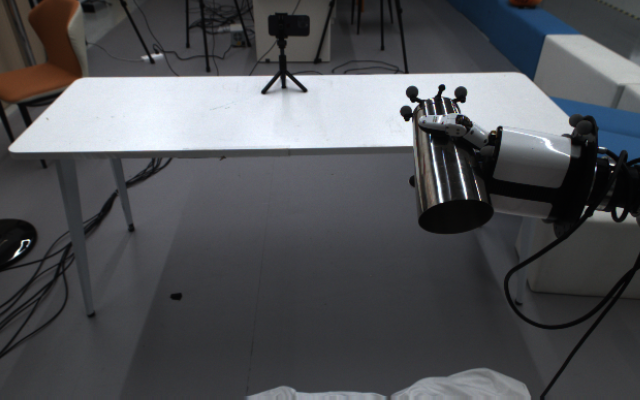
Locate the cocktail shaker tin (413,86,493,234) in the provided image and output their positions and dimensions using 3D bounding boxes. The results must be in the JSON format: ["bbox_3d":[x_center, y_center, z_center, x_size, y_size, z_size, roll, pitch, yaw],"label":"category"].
[{"bbox_3d":[0.165,-0.052,0.639,0.093,0.093,0.170,0,59,-3],"label":"cocktail shaker tin"}]
